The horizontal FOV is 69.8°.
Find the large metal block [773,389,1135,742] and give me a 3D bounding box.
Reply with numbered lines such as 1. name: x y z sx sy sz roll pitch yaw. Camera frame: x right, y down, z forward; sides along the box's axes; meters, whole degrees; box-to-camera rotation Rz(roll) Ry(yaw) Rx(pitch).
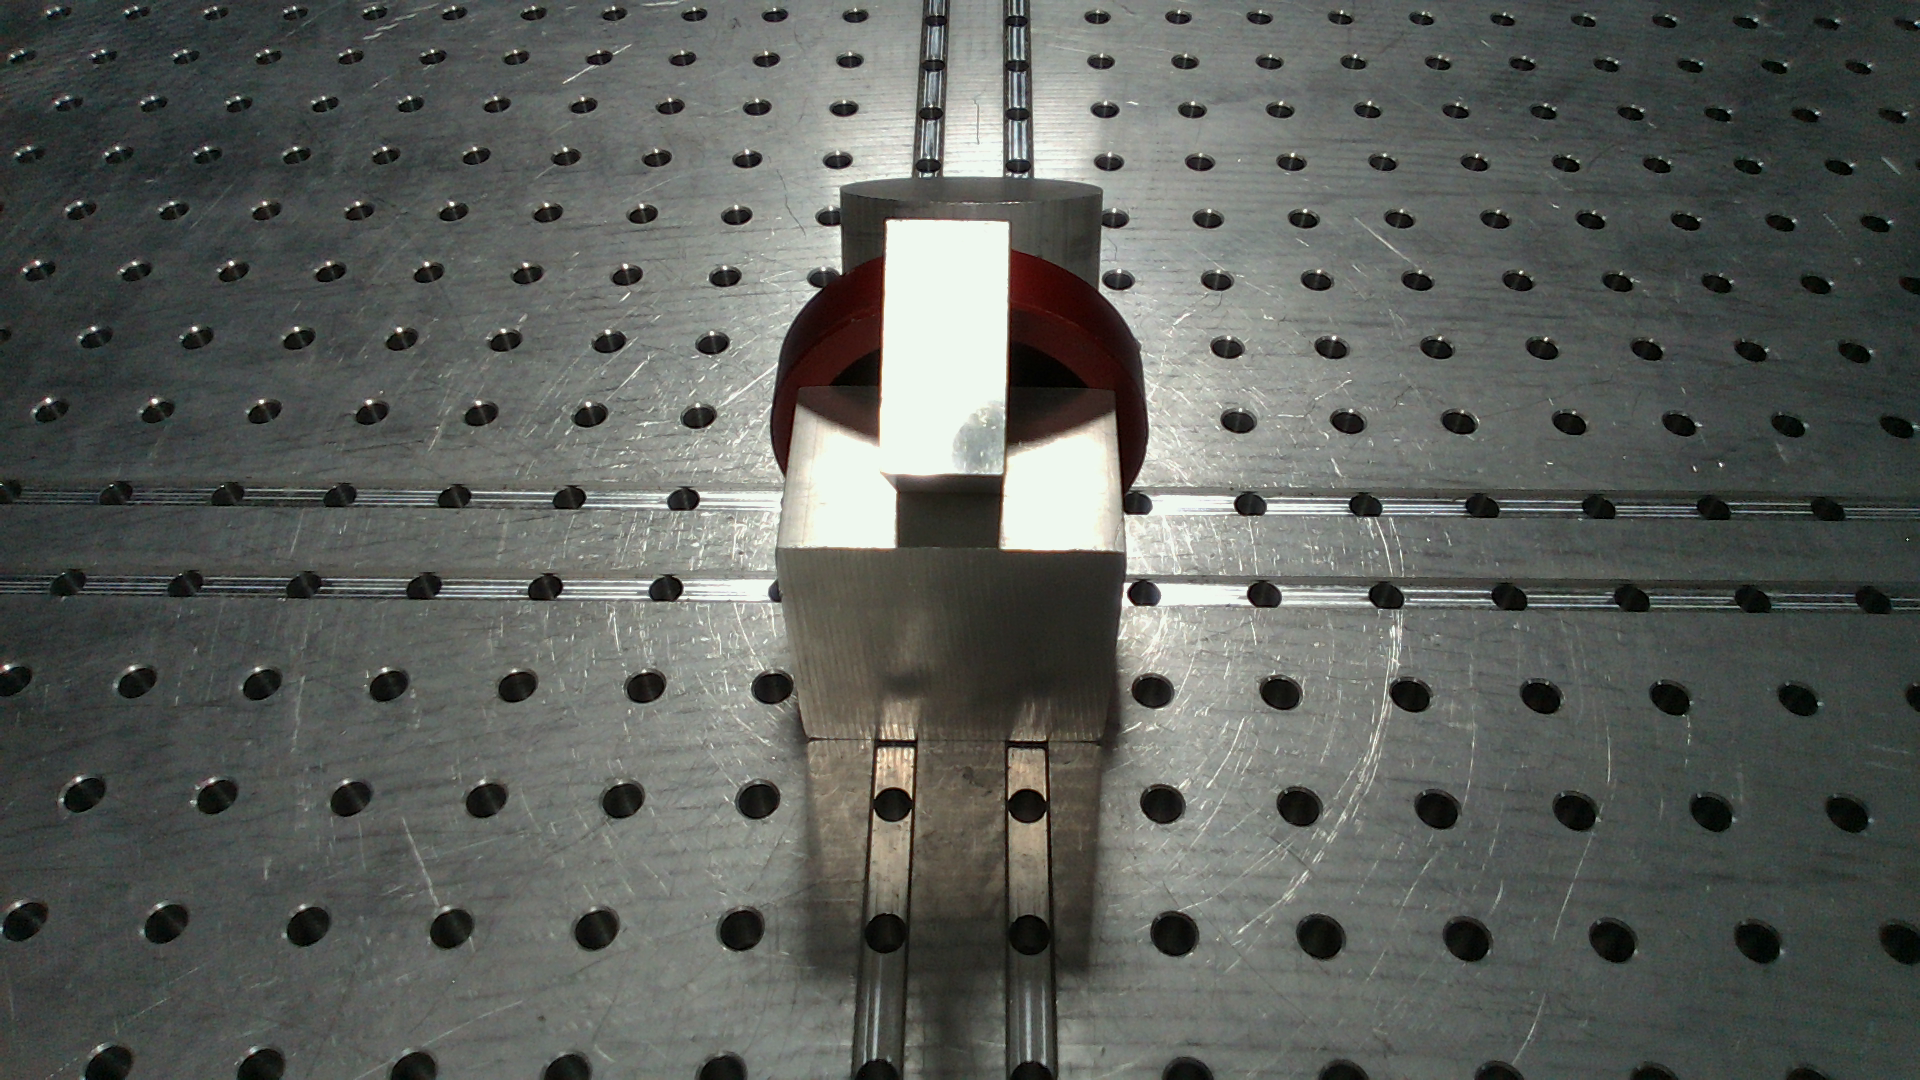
1. large metal block: -0.001 0.008 0.351 0.080 0.080 0.050 1 50 1

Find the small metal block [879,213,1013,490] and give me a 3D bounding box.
1. small metal block: -0.002 -0.037 0.291 0.025 0.050 0.050 1 88 1

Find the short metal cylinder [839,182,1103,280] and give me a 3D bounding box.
1. short metal cylinder: 0.003 -0.084 0.427 0.080 0.050 0.080 1 20 0

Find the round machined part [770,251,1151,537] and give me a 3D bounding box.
1. round machined part: 0.000 -0.041 0.367 0.098 0.098 0.042 0 50 1

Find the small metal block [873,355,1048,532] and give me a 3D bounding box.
1. small metal block: 0.001 -0.030 0.419 0.050 0.025 0.050 1 50 1
